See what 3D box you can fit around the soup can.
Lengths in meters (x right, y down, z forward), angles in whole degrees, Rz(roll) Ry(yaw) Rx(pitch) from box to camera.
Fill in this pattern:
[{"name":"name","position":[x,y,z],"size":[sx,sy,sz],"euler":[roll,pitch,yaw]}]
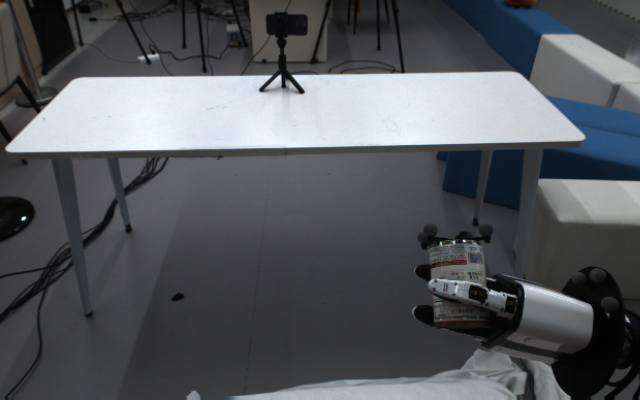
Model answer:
[{"name":"soup can","position":[0.173,0.105,0.598],"size":[0.067,0.067,0.101],"euler":[1,73,-2]}]
